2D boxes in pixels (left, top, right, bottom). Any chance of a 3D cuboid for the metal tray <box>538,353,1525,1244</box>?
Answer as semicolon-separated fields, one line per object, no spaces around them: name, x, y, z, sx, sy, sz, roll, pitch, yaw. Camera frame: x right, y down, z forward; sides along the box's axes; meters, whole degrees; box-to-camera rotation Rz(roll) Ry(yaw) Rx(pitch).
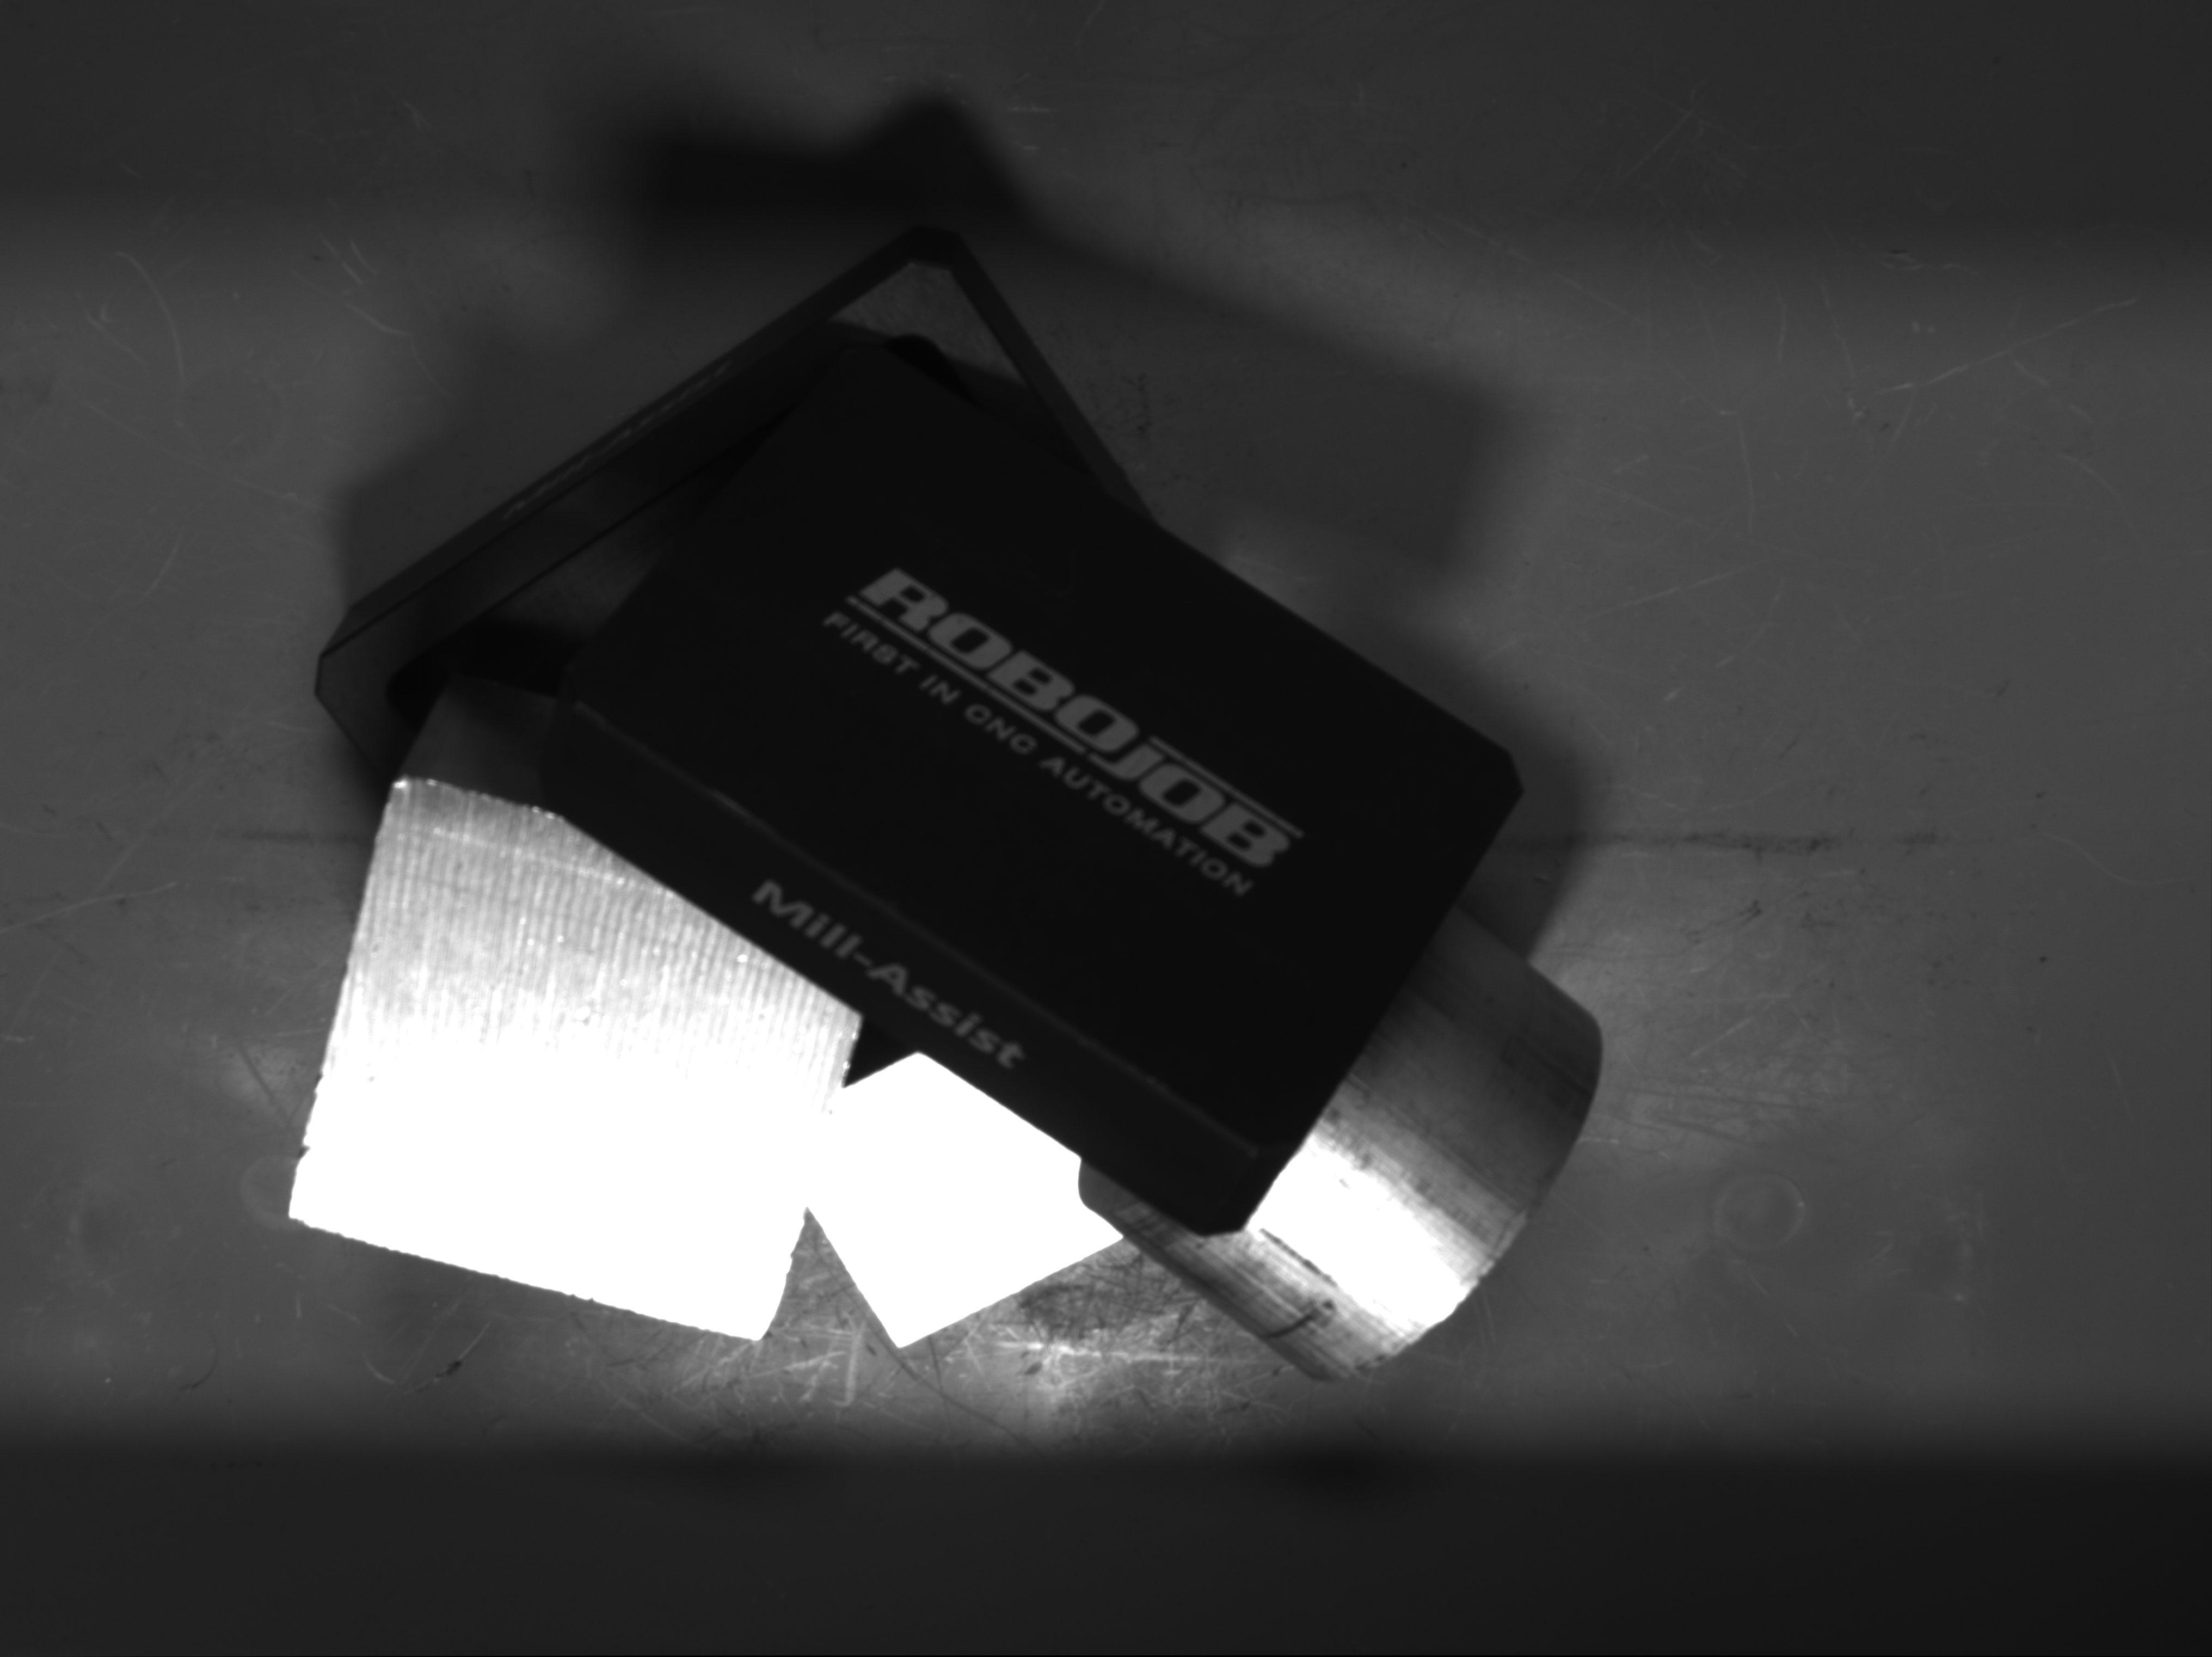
metal tray;-0.011;-0.007;0.574;0.130;0.090;0.030;33;145;3

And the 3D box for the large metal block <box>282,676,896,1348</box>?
large metal block;-0.083;0.030;0.604;0.080;0.050;0.080;15;109;-6

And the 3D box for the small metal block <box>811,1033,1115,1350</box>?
small metal block;-0.028;0.058;0.663;0.050;0.025;0.050;-27;108;9

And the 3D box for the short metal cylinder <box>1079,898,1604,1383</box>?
short metal cylinder;0.040;0.048;0.631;0.050;0.080;0.080;38;105;-13

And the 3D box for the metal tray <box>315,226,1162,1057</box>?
metal tray;-0.057;-0.030;0.627;0.130;0.030;0.090;-32;107;10
